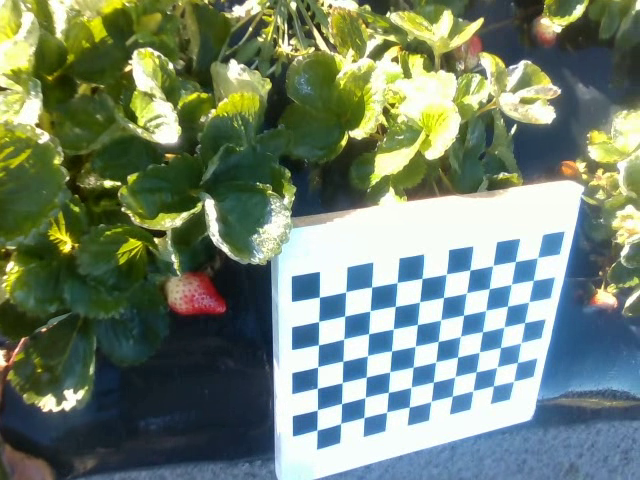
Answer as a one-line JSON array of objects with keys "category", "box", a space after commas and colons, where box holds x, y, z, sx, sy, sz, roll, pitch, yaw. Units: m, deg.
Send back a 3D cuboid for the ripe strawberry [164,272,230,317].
[{"category": "ripe strawberry", "box": [-0.107, 0.055, 0.531, 0.065, 0.040, 0.040, 35, 6, -31]}]
